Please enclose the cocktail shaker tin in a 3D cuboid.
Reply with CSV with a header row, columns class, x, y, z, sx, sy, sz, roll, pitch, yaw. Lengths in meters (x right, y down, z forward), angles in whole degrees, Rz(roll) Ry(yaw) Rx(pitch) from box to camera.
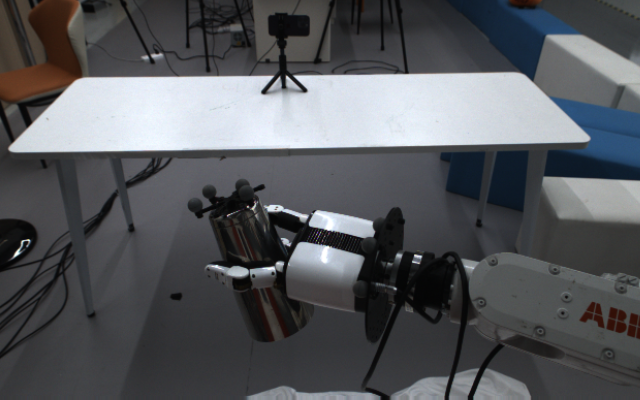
class,x,y,z,sx,sy,sz,roll,pitch,yaw
cocktail shaker tin,-0.077,0.083,0.611,0.093,0.170,0.093,-17,20,7
